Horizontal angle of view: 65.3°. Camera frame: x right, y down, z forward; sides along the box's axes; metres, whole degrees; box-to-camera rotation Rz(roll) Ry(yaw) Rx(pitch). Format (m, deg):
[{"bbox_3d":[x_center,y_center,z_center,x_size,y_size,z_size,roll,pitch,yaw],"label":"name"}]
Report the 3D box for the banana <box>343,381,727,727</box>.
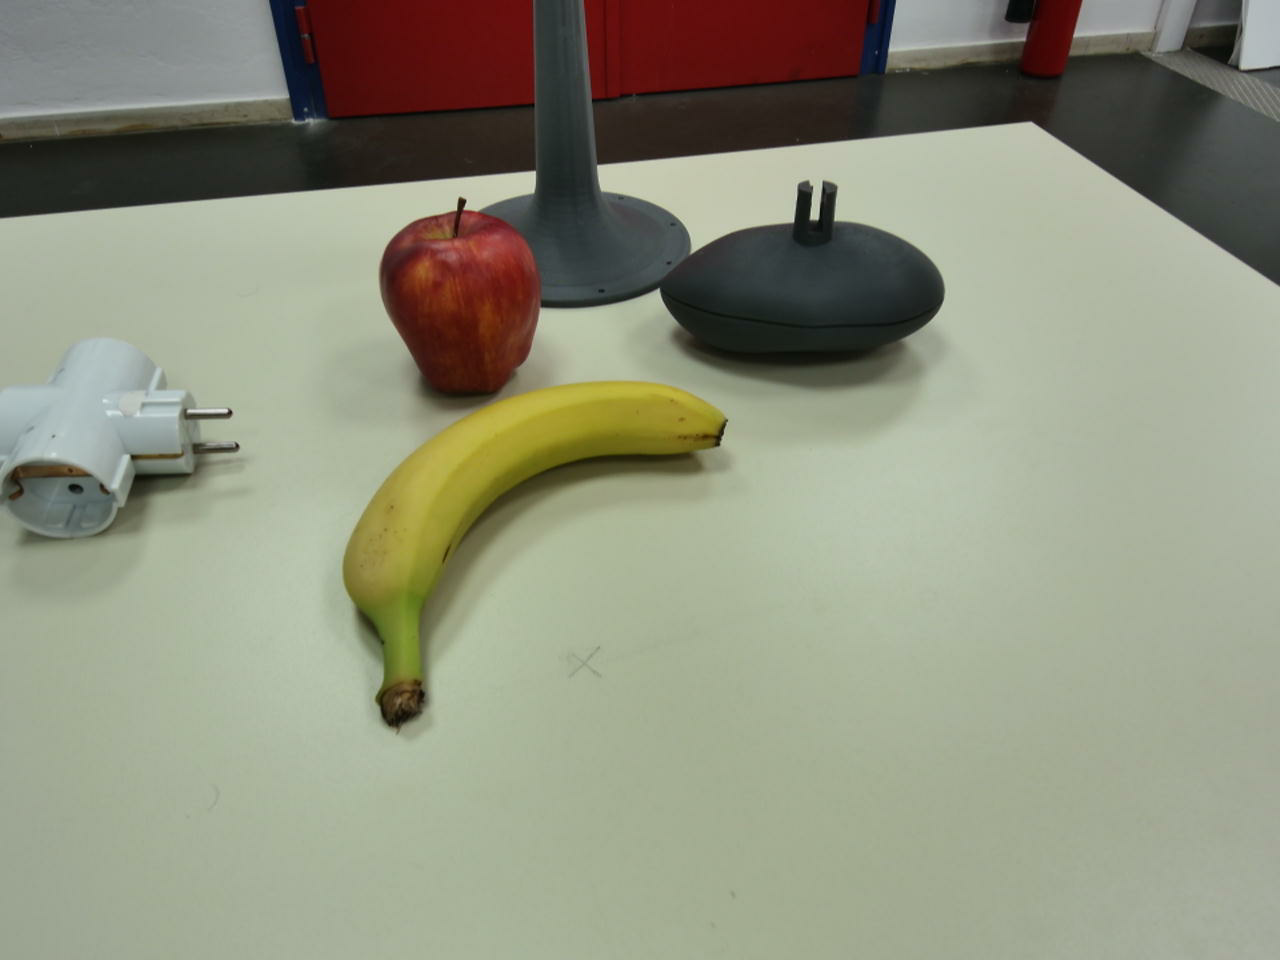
[{"bbox_3d":[-0.055,0.006,0.413,0.094,0.041,0.196,28,46,30],"label":"banana"}]
